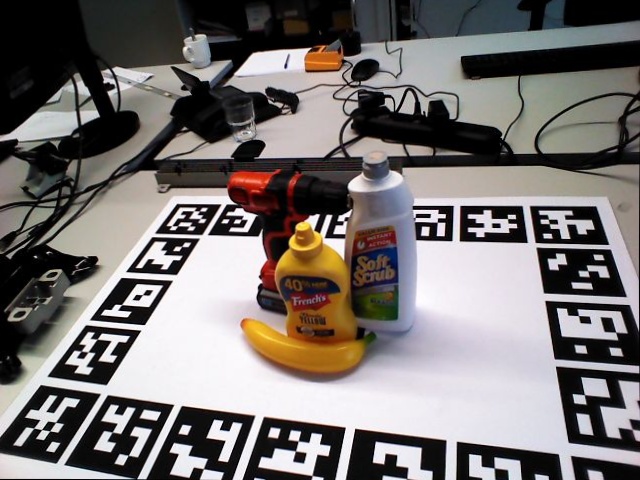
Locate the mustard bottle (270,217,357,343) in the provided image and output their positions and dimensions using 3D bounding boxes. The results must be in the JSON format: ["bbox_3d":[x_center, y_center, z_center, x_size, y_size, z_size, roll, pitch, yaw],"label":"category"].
[{"bbox_3d":[-0.011,0.052,0.647,0.097,0.192,0.058,3,40,16],"label":"mustard bottle"}]

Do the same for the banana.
[{"bbox_3d":[-0.025,0.137,0.684,0.198,0.039,0.073,3,41,22],"label":"banana"}]

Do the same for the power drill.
[{"bbox_3d":[-0.037,-0.009,0.698,0.185,0.187,0.057,11,42,25],"label":"power drill"}]

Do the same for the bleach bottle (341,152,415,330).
[{"bbox_3d":[0.066,-0.001,0.655,0.103,0.251,0.067,3,35,19],"label":"bleach bottle"}]
